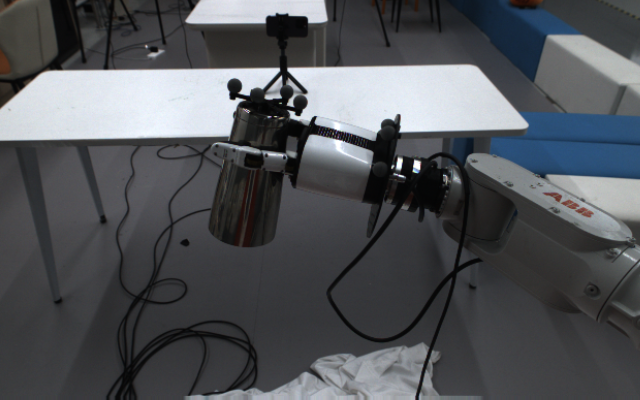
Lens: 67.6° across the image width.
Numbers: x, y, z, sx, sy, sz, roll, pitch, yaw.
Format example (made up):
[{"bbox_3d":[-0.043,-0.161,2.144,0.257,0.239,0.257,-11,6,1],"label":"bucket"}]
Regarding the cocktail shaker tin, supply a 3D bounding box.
[{"bbox_3d":[-0.084,-0.038,0.623,0.093,0.170,0.093,12,25,-6],"label":"cocktail shaker tin"}]
